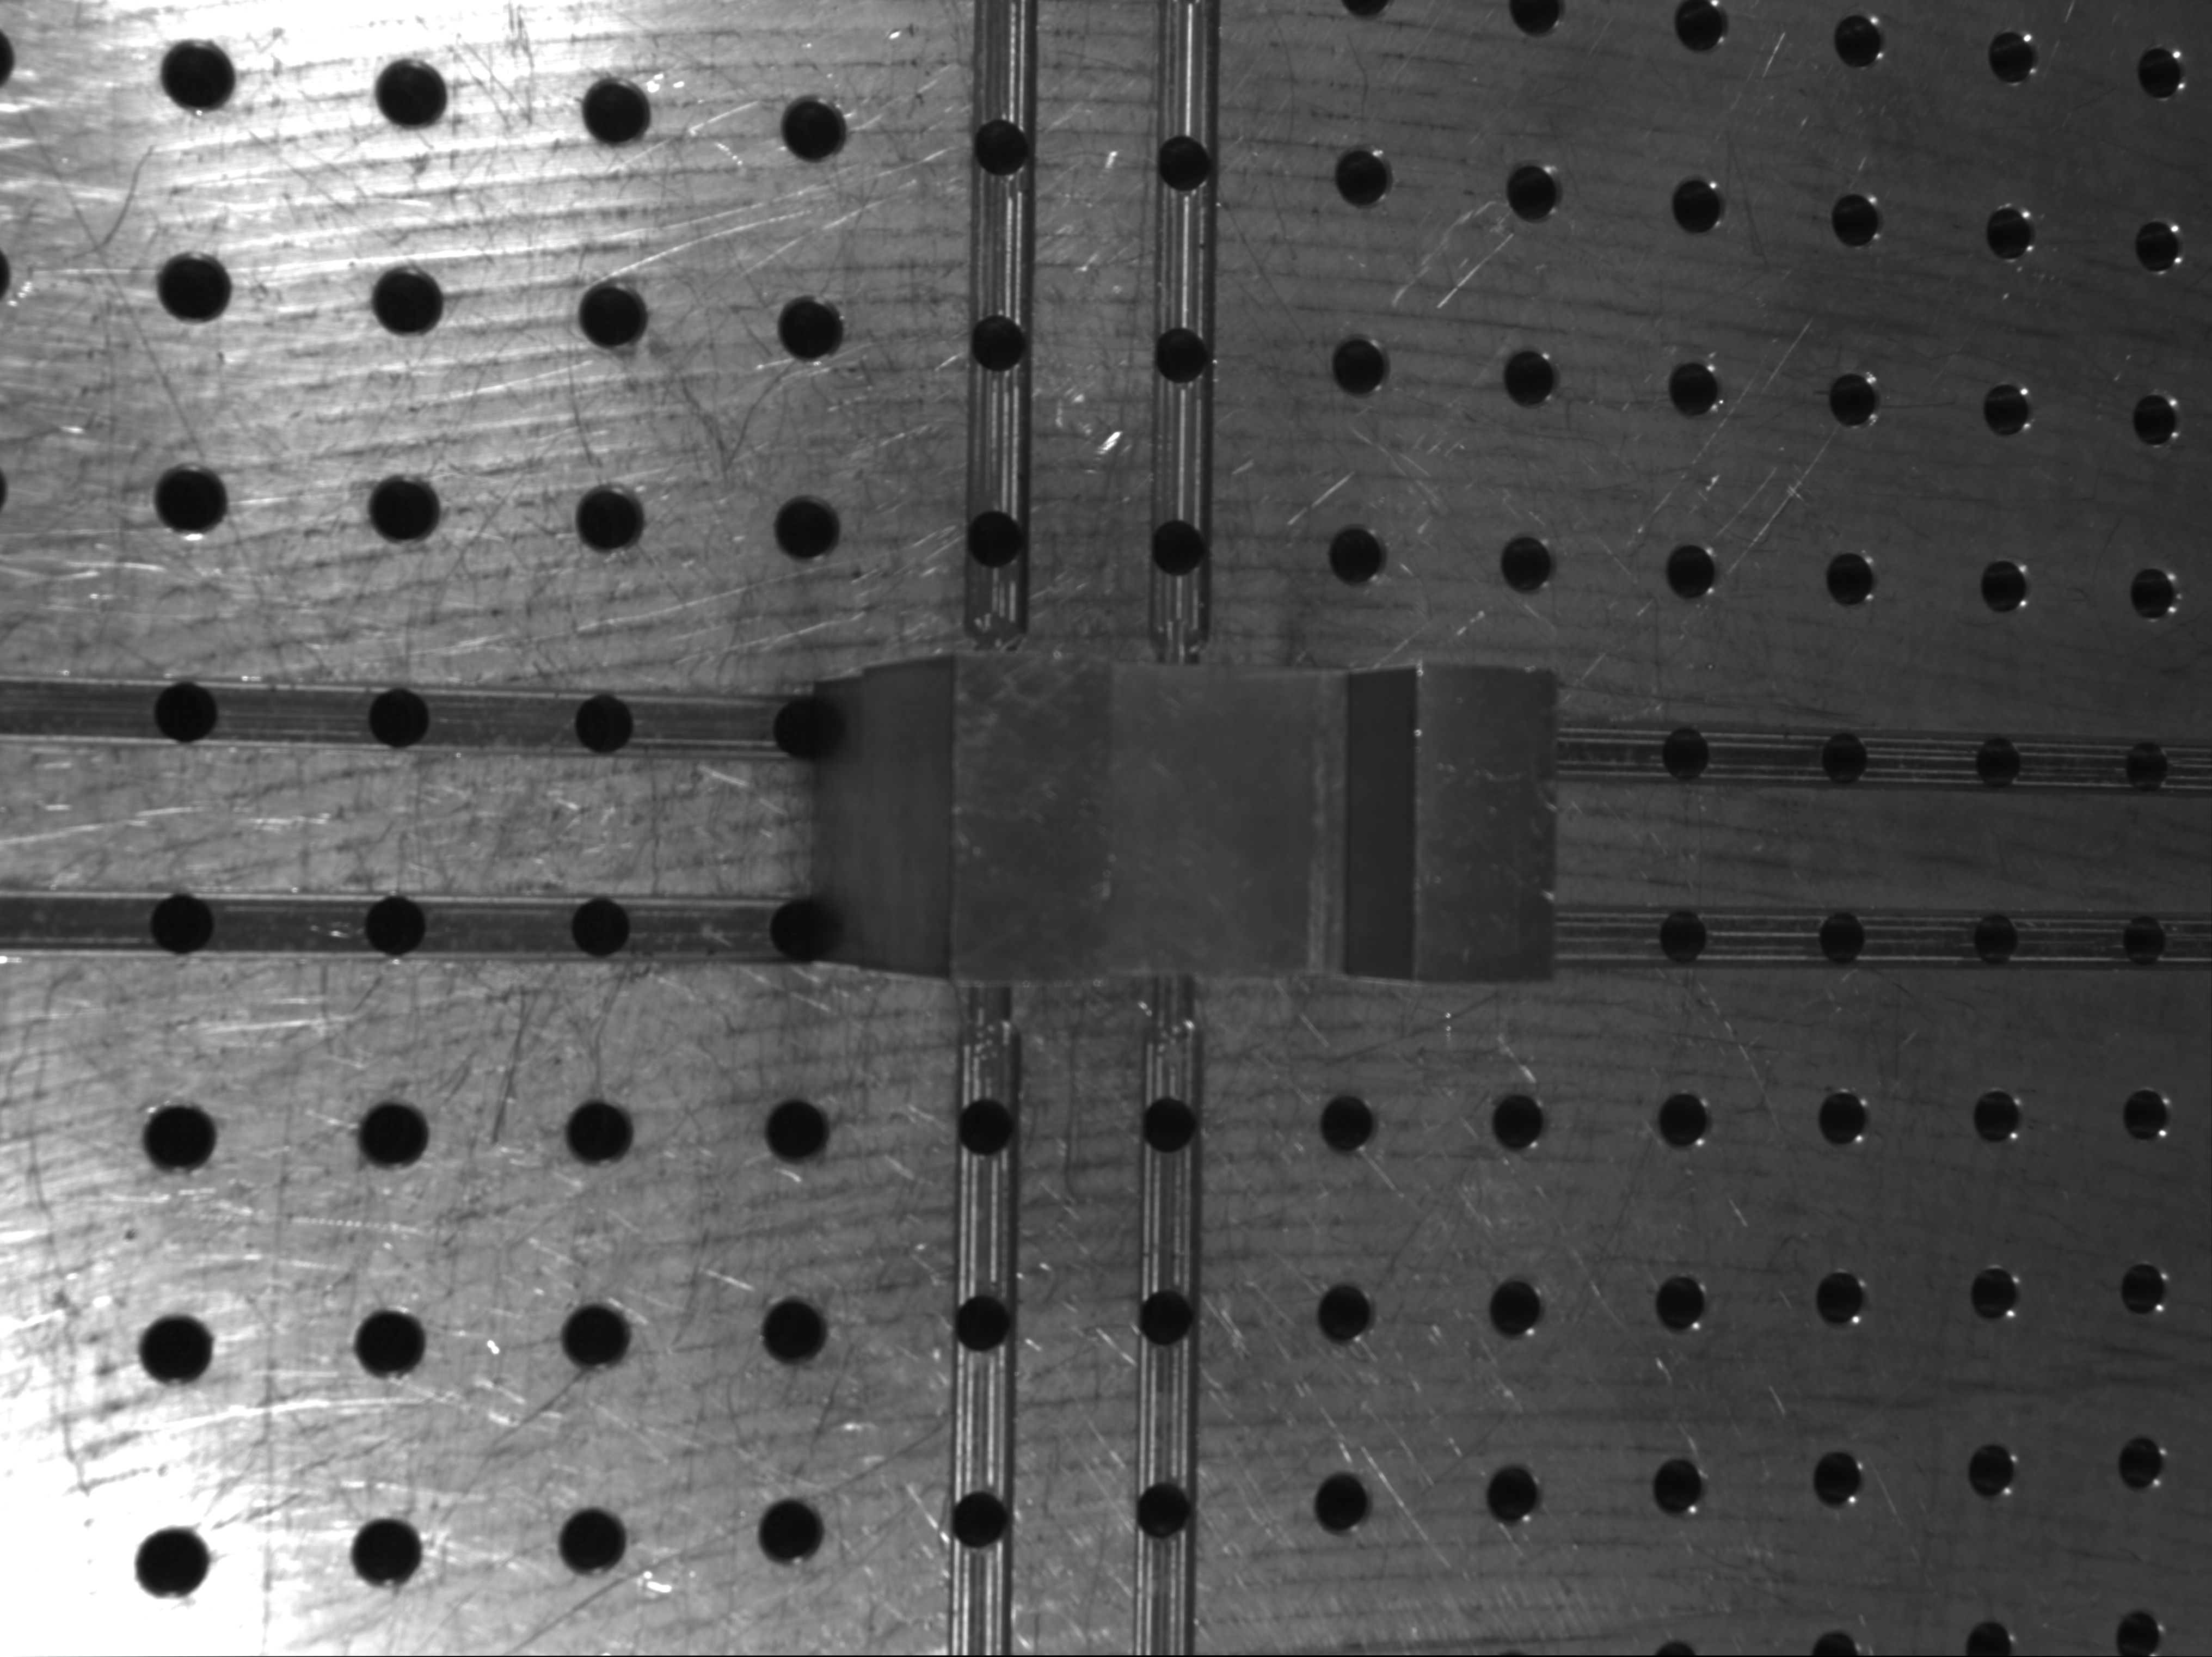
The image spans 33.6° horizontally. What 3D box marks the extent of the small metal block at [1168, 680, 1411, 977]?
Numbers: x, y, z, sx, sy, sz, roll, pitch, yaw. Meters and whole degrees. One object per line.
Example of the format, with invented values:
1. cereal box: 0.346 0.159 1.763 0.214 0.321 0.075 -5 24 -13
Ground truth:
1. small metal block: 0.032 0.000 0.644 0.025 0.050 0.050 -1 90 -20

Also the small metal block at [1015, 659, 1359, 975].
1. small metal block: 0.013 -0.002 0.598 0.050 0.025 0.050 1 90 -20

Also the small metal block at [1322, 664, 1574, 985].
1. small metal block: 0.054 0.000 0.597 0.025 0.050 0.050 1 89 -19

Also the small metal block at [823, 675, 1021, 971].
1. small metal block: -0.029 -0.001 0.621 0.025 0.050 0.050 1 90 -20

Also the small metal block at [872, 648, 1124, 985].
1. small metal block: -0.018 -0.001 0.572 0.025 0.050 0.050 1 89 -19
